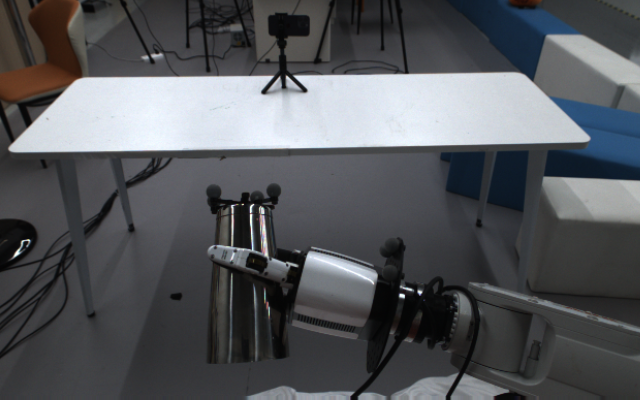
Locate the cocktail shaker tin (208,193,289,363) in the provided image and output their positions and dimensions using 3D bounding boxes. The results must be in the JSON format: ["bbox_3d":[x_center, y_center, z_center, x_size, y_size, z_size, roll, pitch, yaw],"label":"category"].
[{"bbox_3d":[-0.084,0.096,0.557,0.093,0.093,0.170,-3,76,-7],"label":"cocktail shaker tin"}]
